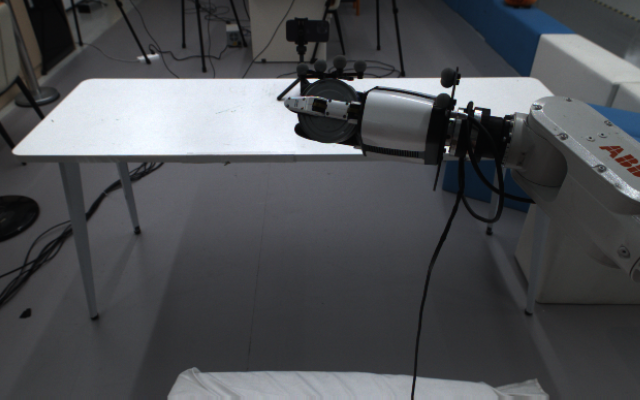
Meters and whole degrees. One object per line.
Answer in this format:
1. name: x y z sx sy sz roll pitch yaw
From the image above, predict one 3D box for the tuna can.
1. tuna can: 0.014 -0.121 0.655 0.085 0.085 0.034 12 7 14
